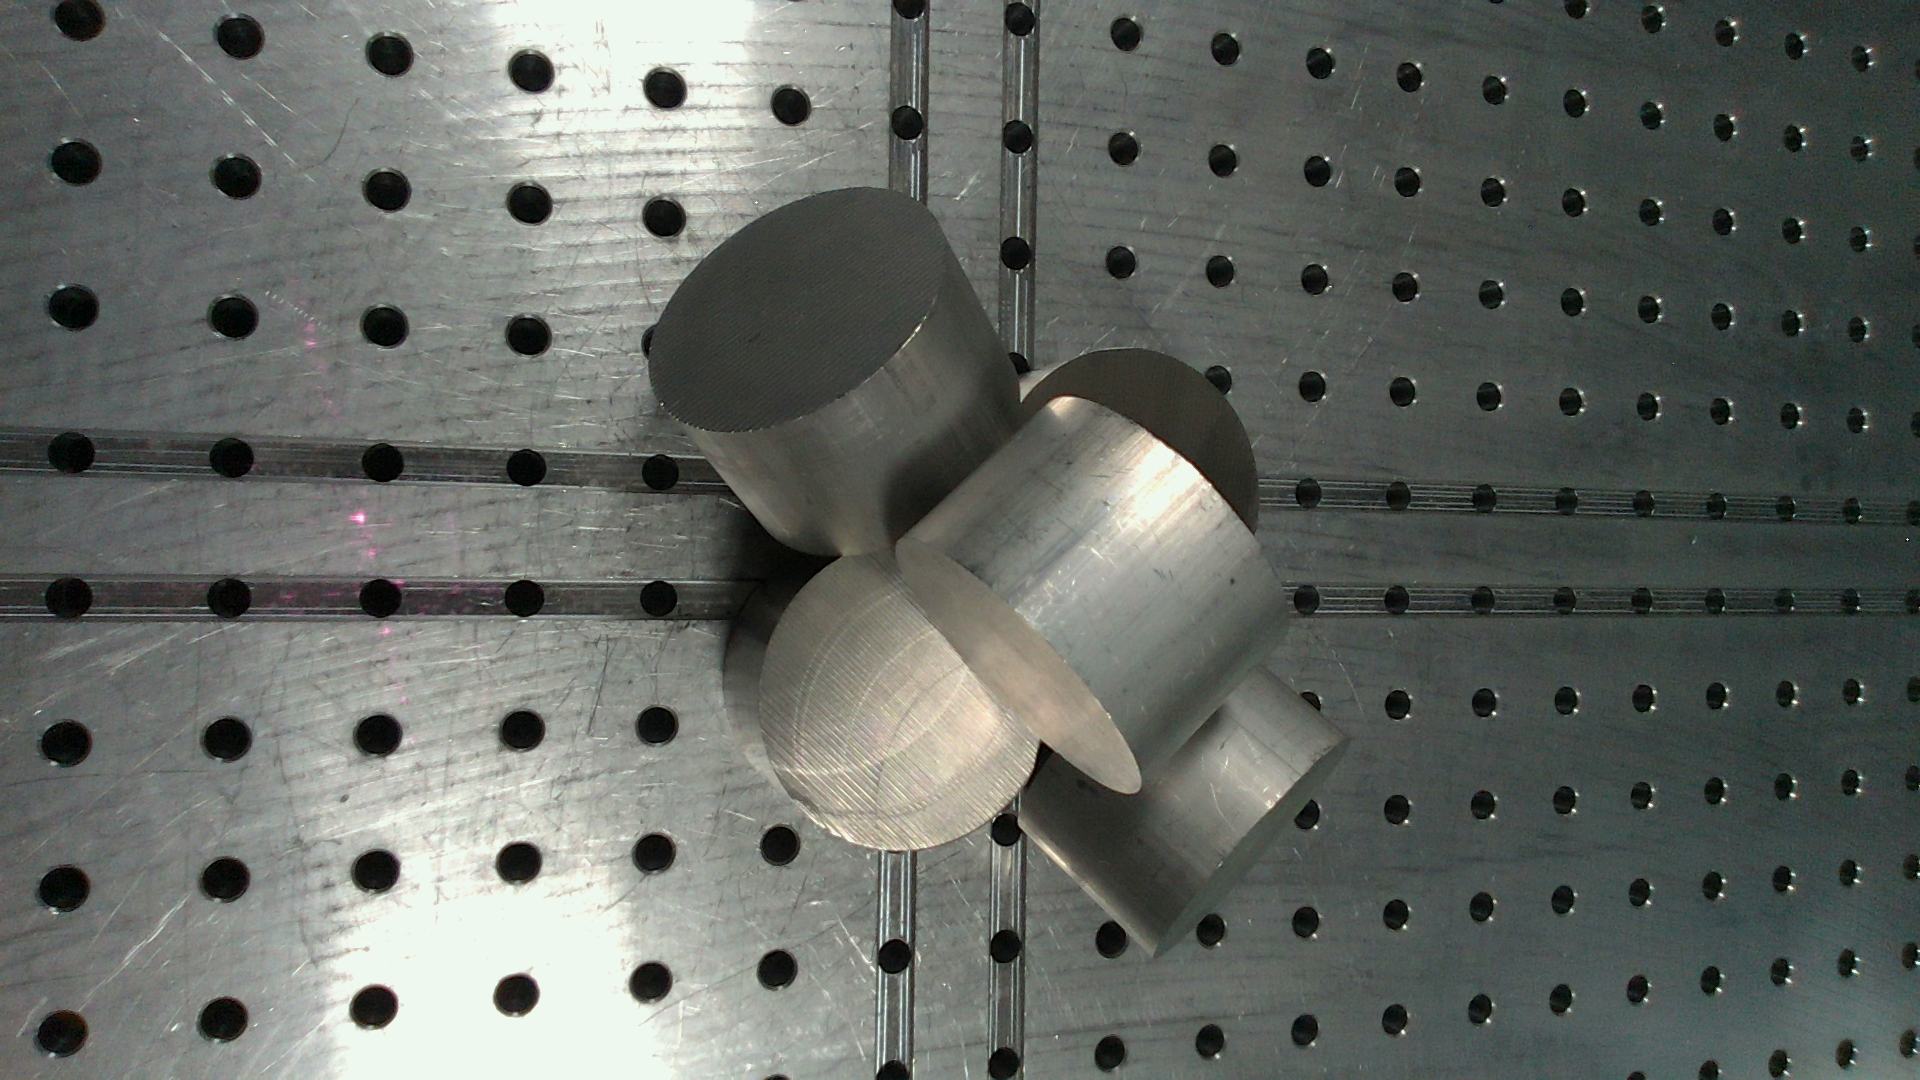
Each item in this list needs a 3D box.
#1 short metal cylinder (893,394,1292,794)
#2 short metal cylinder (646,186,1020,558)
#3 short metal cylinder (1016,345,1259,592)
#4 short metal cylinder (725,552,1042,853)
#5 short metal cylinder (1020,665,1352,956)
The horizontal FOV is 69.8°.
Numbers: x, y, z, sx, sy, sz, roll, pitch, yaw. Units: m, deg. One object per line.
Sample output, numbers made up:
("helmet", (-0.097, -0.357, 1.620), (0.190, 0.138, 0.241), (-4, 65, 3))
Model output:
("short metal cylinder", (0.030, 0.013, 0.323), (0.050, 0.080, 0.080), (-43, 103, -15))
("short metal cylinder", (-0.031, -0.043, 0.348), (0.080, 0.080, 0.050), (-48, 139, -13))
("short metal cylinder", (0.038, -0.013, 0.396), (0.080, 0.050, 0.080), (0, 90, -20))
("short metal cylinder", (-0.021, 0.040, 0.374), (0.080, 0.050, 0.080), (0, 90, -20))
("short metal cylinder", (0.062, 0.068, 0.382), (0.080, 0.080, 0.050), (-42, 68, -15))
